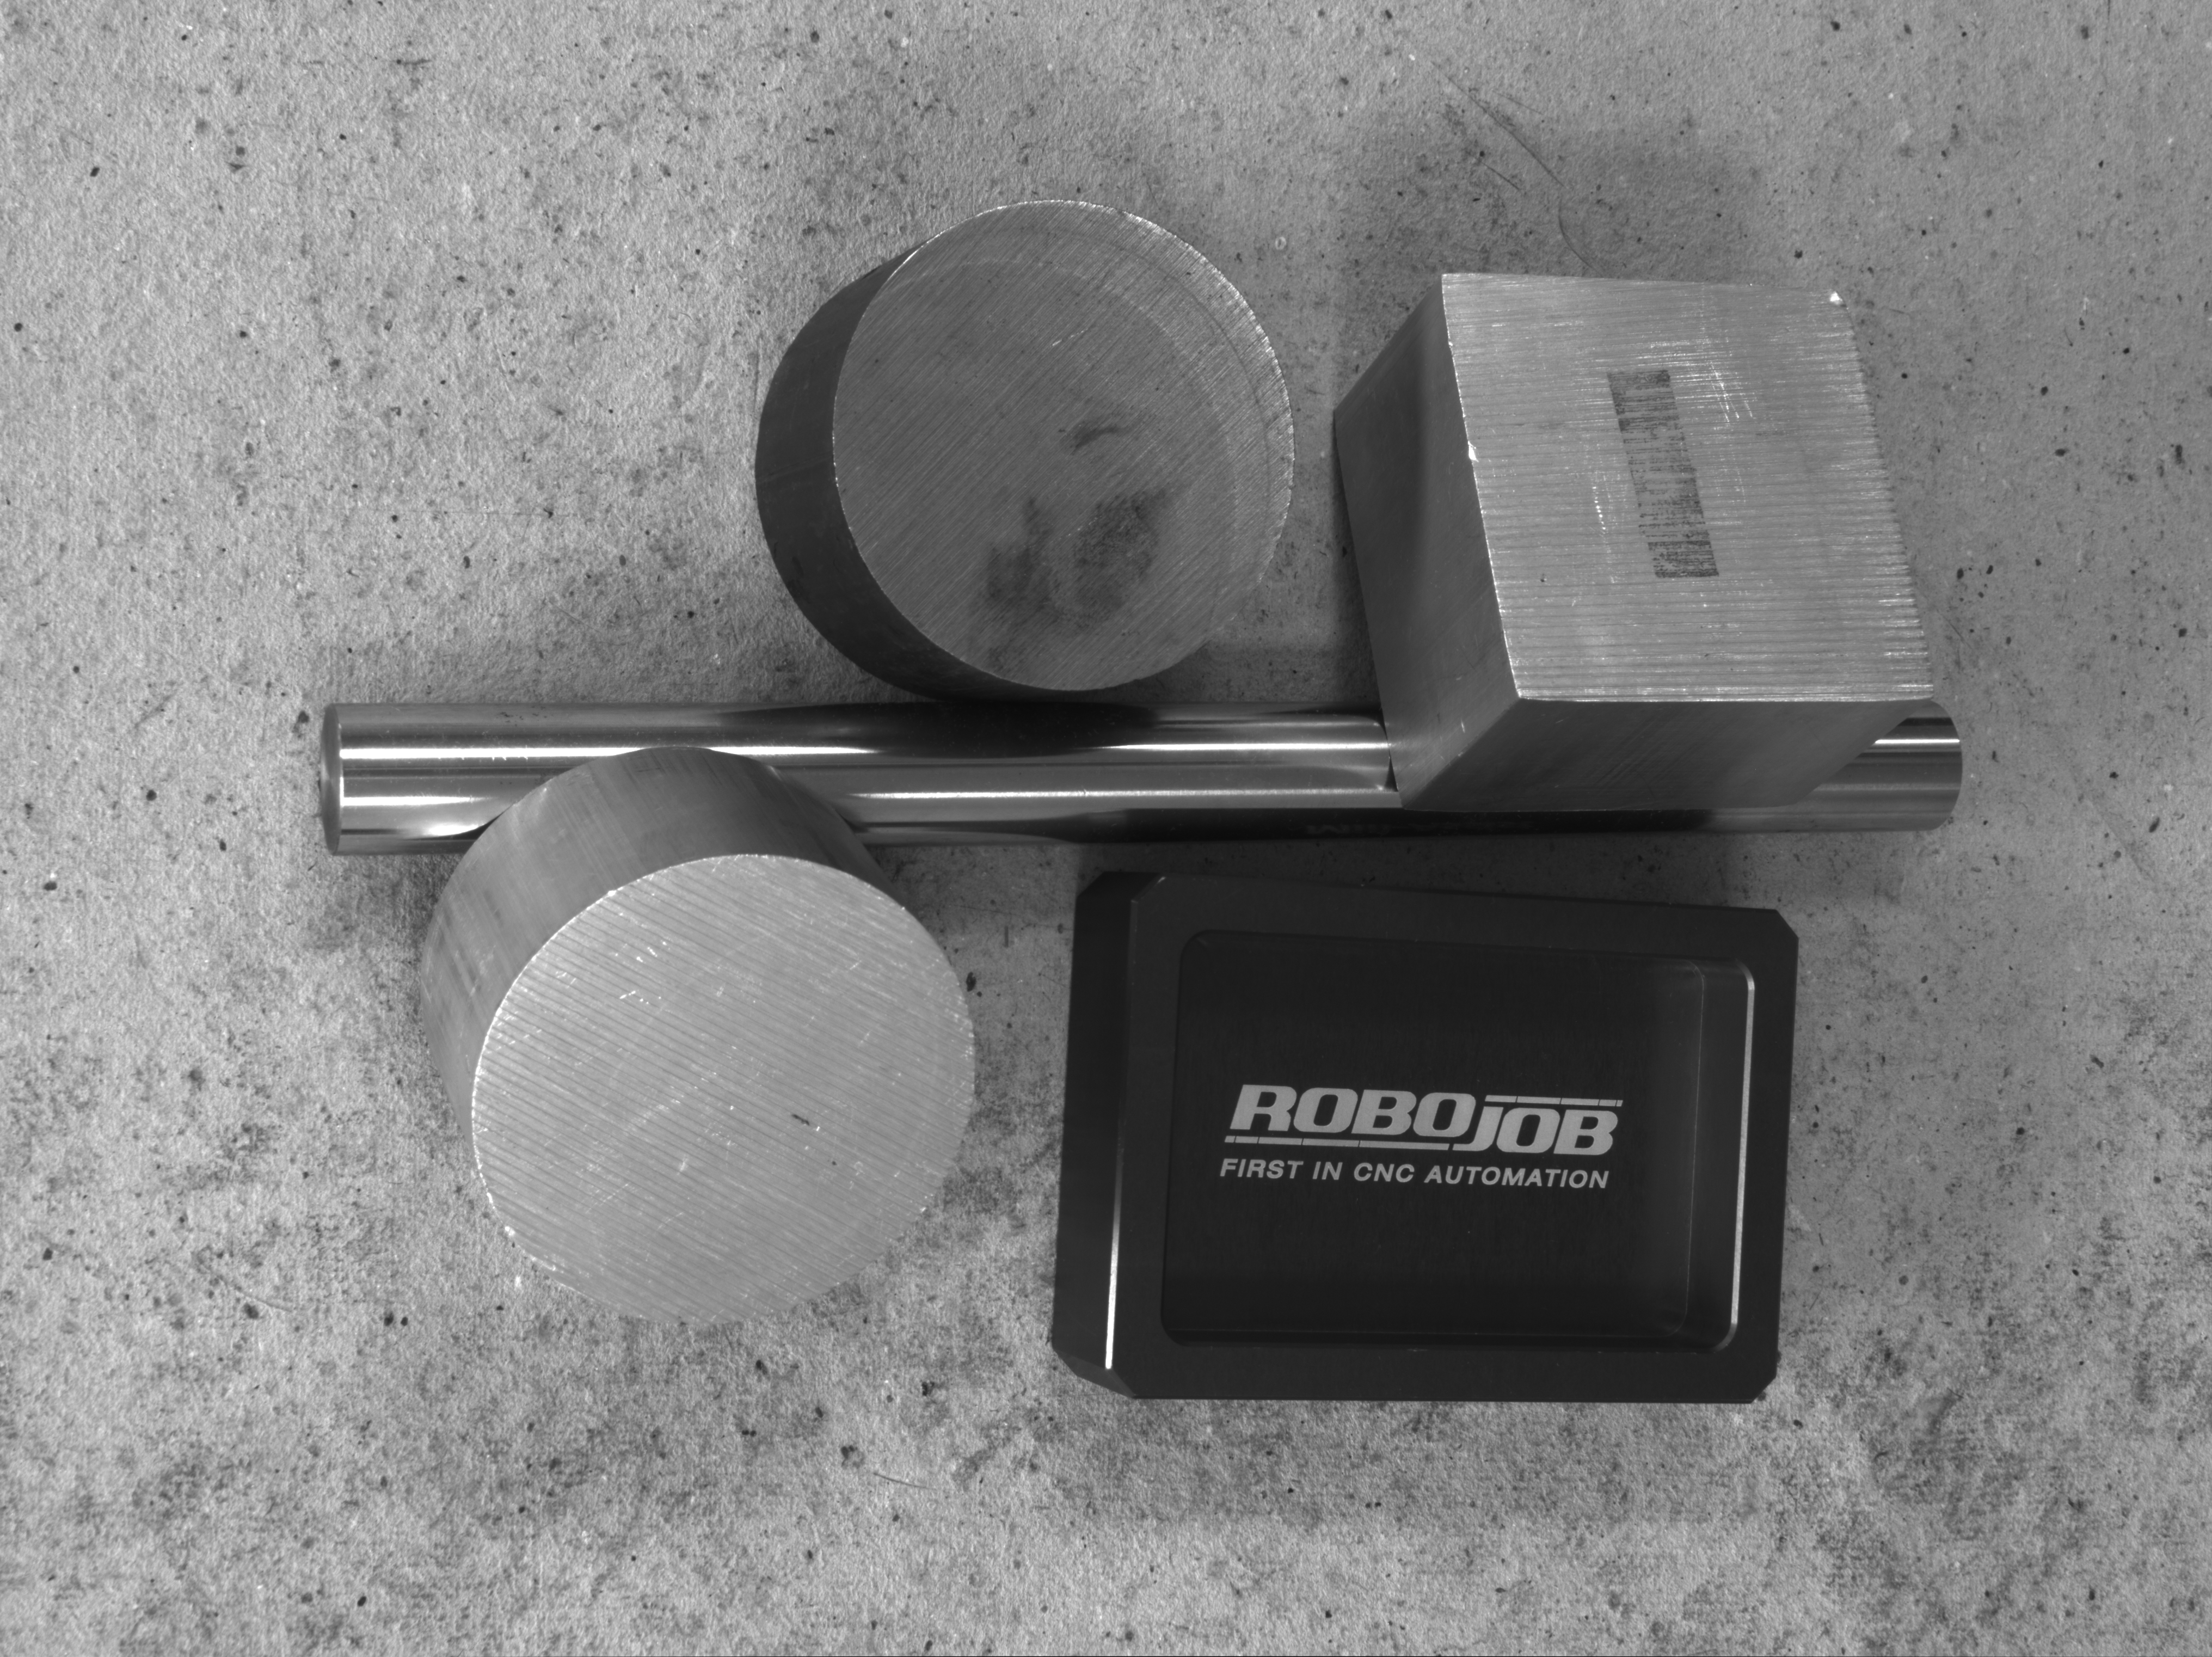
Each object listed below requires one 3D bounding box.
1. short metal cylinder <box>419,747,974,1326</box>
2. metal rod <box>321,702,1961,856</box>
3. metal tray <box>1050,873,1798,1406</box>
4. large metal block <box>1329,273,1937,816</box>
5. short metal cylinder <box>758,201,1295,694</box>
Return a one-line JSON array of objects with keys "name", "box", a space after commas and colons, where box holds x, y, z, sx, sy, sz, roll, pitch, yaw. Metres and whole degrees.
[{"name": "short metal cylinder", "box": [-0.067, 0.033, 0.593, 0.080, 0.050, 0.080, -7, 113, -18]}, {"name": "metal rod", "box": [0.015, -0.010, 0.650, 0.301, 0.025, 0.025, -1, 90, -20]}, {"name": "metal tray", "box": [0.058, 0.056, 0.661, 0.130, 0.030, 0.090, 4, 89, -20]}, {"name": "large metal block", "box": [0.091, -0.049, 0.650, 0.080, 0.050, 0.080, -1, 69, -20]}, {"name": "short metal cylinder", "box": [-0.014, -0.062, 0.625, 0.080, 0.050, 0.080, 0, 89, -20]}]
